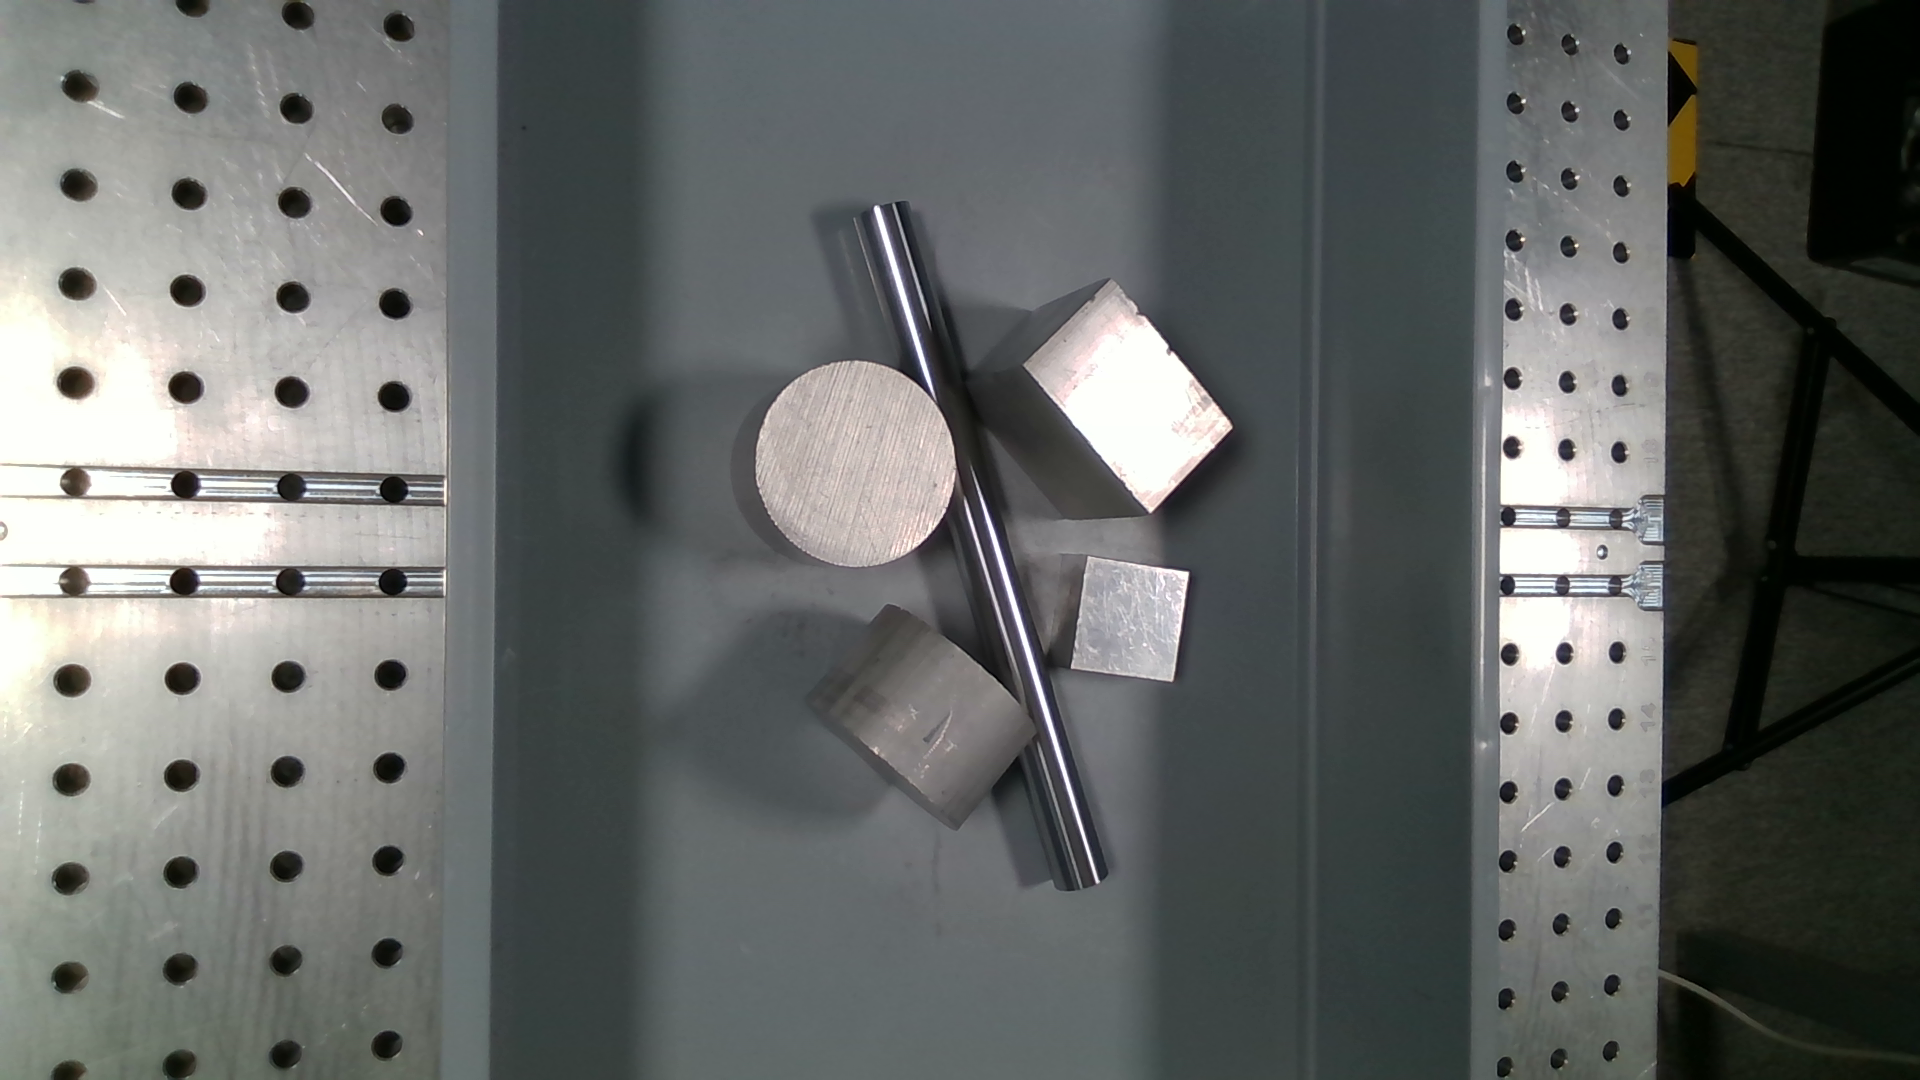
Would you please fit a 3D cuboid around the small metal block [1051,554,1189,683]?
[{"bbox_3d":[0.070,0.035,0.611,0.050,0.025,0.050,9,87,-20],"label":"small metal block"}]

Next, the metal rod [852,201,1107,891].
[{"bbox_3d":[0.010,0.006,0.589,0.025,0.025,0.300,-19,97,-19],"label":"metal rod"}]

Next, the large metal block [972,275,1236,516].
[{"bbox_3d":[0.054,-0.057,0.576,0.050,0.080,0.080,-45,104,-15],"label":"large metal block"}]

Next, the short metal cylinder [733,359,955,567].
[{"bbox_3d":[-0.048,-0.029,0.553,0.080,0.050,0.080,0,90,-20],"label":"short metal cylinder"}]

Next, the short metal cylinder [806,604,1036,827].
[{"bbox_3d":[-0.016,0.071,0.550,0.080,0.080,0.050,44,76,-15],"label":"short metal cylinder"}]
